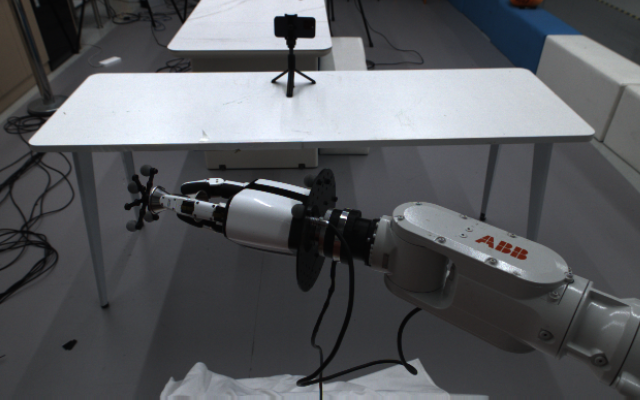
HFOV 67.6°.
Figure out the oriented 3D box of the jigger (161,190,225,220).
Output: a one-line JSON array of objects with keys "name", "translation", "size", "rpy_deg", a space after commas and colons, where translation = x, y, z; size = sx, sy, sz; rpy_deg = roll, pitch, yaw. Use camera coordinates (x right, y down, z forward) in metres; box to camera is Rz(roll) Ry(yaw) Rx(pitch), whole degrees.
[{"name": "jigger", "translation": [-0.188, 0.002, 0.664], "size": [0.071, 0.043, 0.043], "rpy_deg": [7, 35, 13]}]
